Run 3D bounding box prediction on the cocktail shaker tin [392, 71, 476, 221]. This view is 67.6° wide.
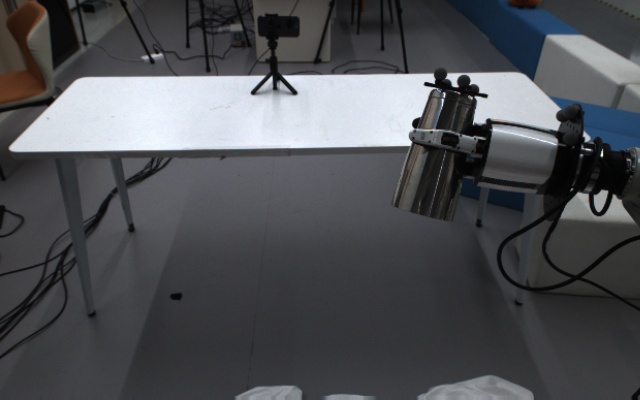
[{"bbox_3d":[0.168,-0.065,0.686,0.093,0.170,0.093,14,6,-2],"label":"cocktail shaker tin"}]
